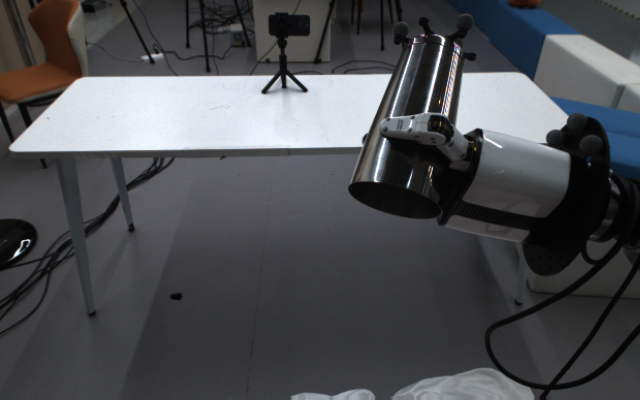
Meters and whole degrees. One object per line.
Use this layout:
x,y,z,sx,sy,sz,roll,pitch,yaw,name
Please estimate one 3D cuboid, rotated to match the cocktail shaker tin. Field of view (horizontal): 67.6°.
0.097,-0.076,0.490,0.093,0.093,0.170,13,73,15,cocktail shaker tin
